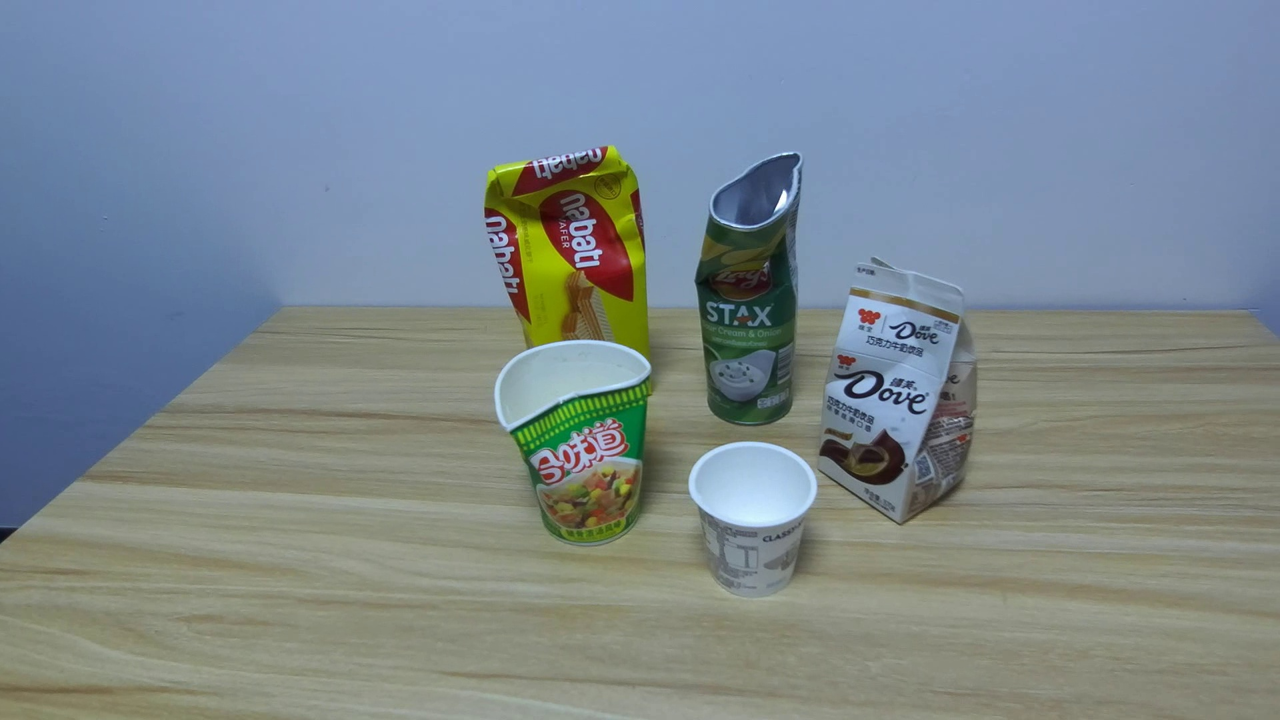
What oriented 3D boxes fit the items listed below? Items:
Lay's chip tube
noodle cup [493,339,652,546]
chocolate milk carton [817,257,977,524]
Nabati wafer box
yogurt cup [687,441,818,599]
[{"bbox_3d":[0.083,-0.041,0.513,0.079,0.200,0.071,-10,40,-4],"label":"Lay's chip tube"},{"bbox_3d":[-0.036,0.055,0.459,0.094,0.109,0.086,-7,33,-3],"label":"noodle cup"},{"bbox_3d":[0.169,0.016,0.449,0.073,0.155,0.084,-25,38,-28],"label":"chocolate milk carton"},{"bbox_3d":[-0.046,-0.052,0.540,0.113,0.205,0.042,-15,30,-12],"label":"Nabati wafer box"},{"bbox_3d":[0.067,0.096,0.417,0.072,0.068,0.072,-5,34,4],"label":"yogurt cup"}]
